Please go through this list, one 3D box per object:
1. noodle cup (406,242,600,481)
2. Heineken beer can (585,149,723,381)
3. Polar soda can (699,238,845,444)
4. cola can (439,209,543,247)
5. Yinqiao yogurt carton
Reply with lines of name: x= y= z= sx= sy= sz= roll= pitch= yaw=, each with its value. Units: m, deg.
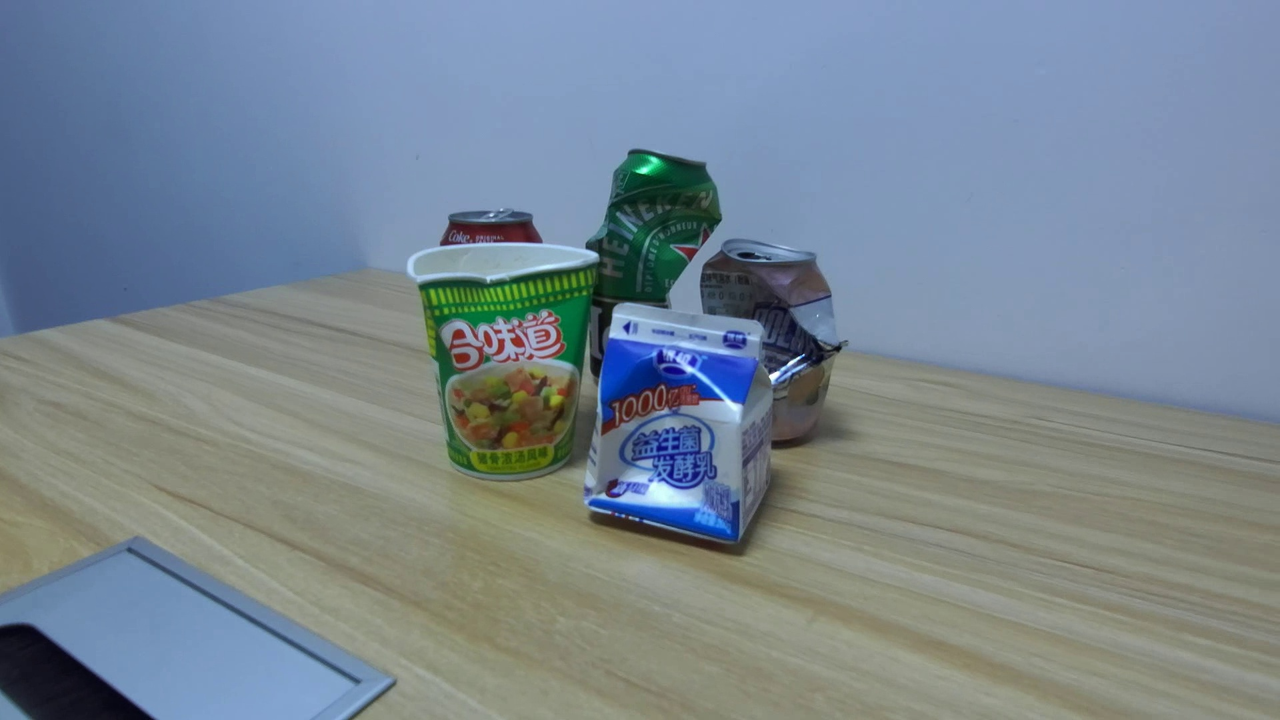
noodle cup: x=-0.069 y=-0.002 z=0.381 sx=0.094 sy=0.109 sz=0.086 roll=-2 pitch=19 yaw=-9
Heineken beer can: x=0.005 y=-0.059 z=0.481 sx=0.067 sy=0.159 sz=0.079 roll=16 pitch=18 yaw=27
Polar soda can: x=0.073 y=-0.010 z=0.408 sx=0.074 sy=0.114 sz=0.070 roll=-1 pitch=25 yaw=4
cola can: x=-0.098 y=-0.043 z=0.483 sx=0.068 sy=0.120 sz=0.068 roll=-1 pitch=19 yaw=1
Yinqiao yogurt carton: x=0.021 y=0.023 z=0.333 sx=0.077 sy=0.094 sz=0.071 roll=9 pitch=17 yaw=18
